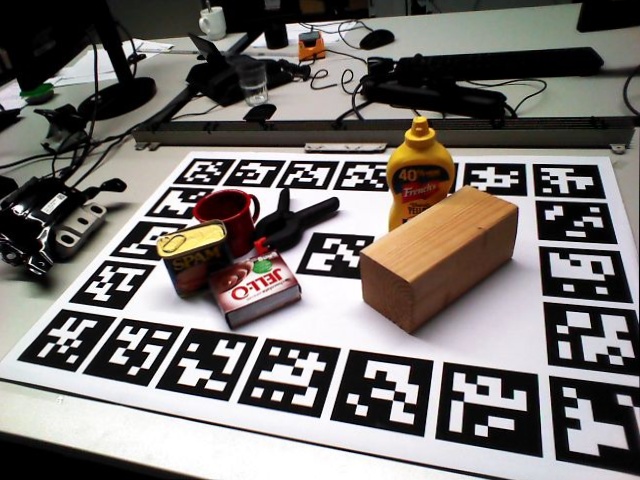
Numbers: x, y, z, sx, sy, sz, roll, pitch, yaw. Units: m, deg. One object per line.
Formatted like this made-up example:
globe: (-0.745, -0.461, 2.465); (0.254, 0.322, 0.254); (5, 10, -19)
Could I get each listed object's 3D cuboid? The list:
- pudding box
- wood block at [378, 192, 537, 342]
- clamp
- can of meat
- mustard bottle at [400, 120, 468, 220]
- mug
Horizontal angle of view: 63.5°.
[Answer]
pudding box: (-0.070, 0.074, 0.722); (0.113, 0.039, 0.090); (-21, 39, -15)
wood block: (0.184, 0.029, 0.680); (0.205, 0.091, 0.090); (-29, 39, -24)
clamp: (-0.029, -0.027, 0.849); (0.122, 0.037, 0.164); (19, 49, 31)
can of meat: (-0.162, 0.034, 0.751); (0.102, 0.084, 0.057); (-16, 39, -6)
mustard bottle: (0.164, -0.081, 0.734); (0.097, 0.192, 0.058); (0, 40, 14)
mug: (-0.118, -0.010, 0.843); (0.094, 0.081, 0.116); (21, 49, 34)
